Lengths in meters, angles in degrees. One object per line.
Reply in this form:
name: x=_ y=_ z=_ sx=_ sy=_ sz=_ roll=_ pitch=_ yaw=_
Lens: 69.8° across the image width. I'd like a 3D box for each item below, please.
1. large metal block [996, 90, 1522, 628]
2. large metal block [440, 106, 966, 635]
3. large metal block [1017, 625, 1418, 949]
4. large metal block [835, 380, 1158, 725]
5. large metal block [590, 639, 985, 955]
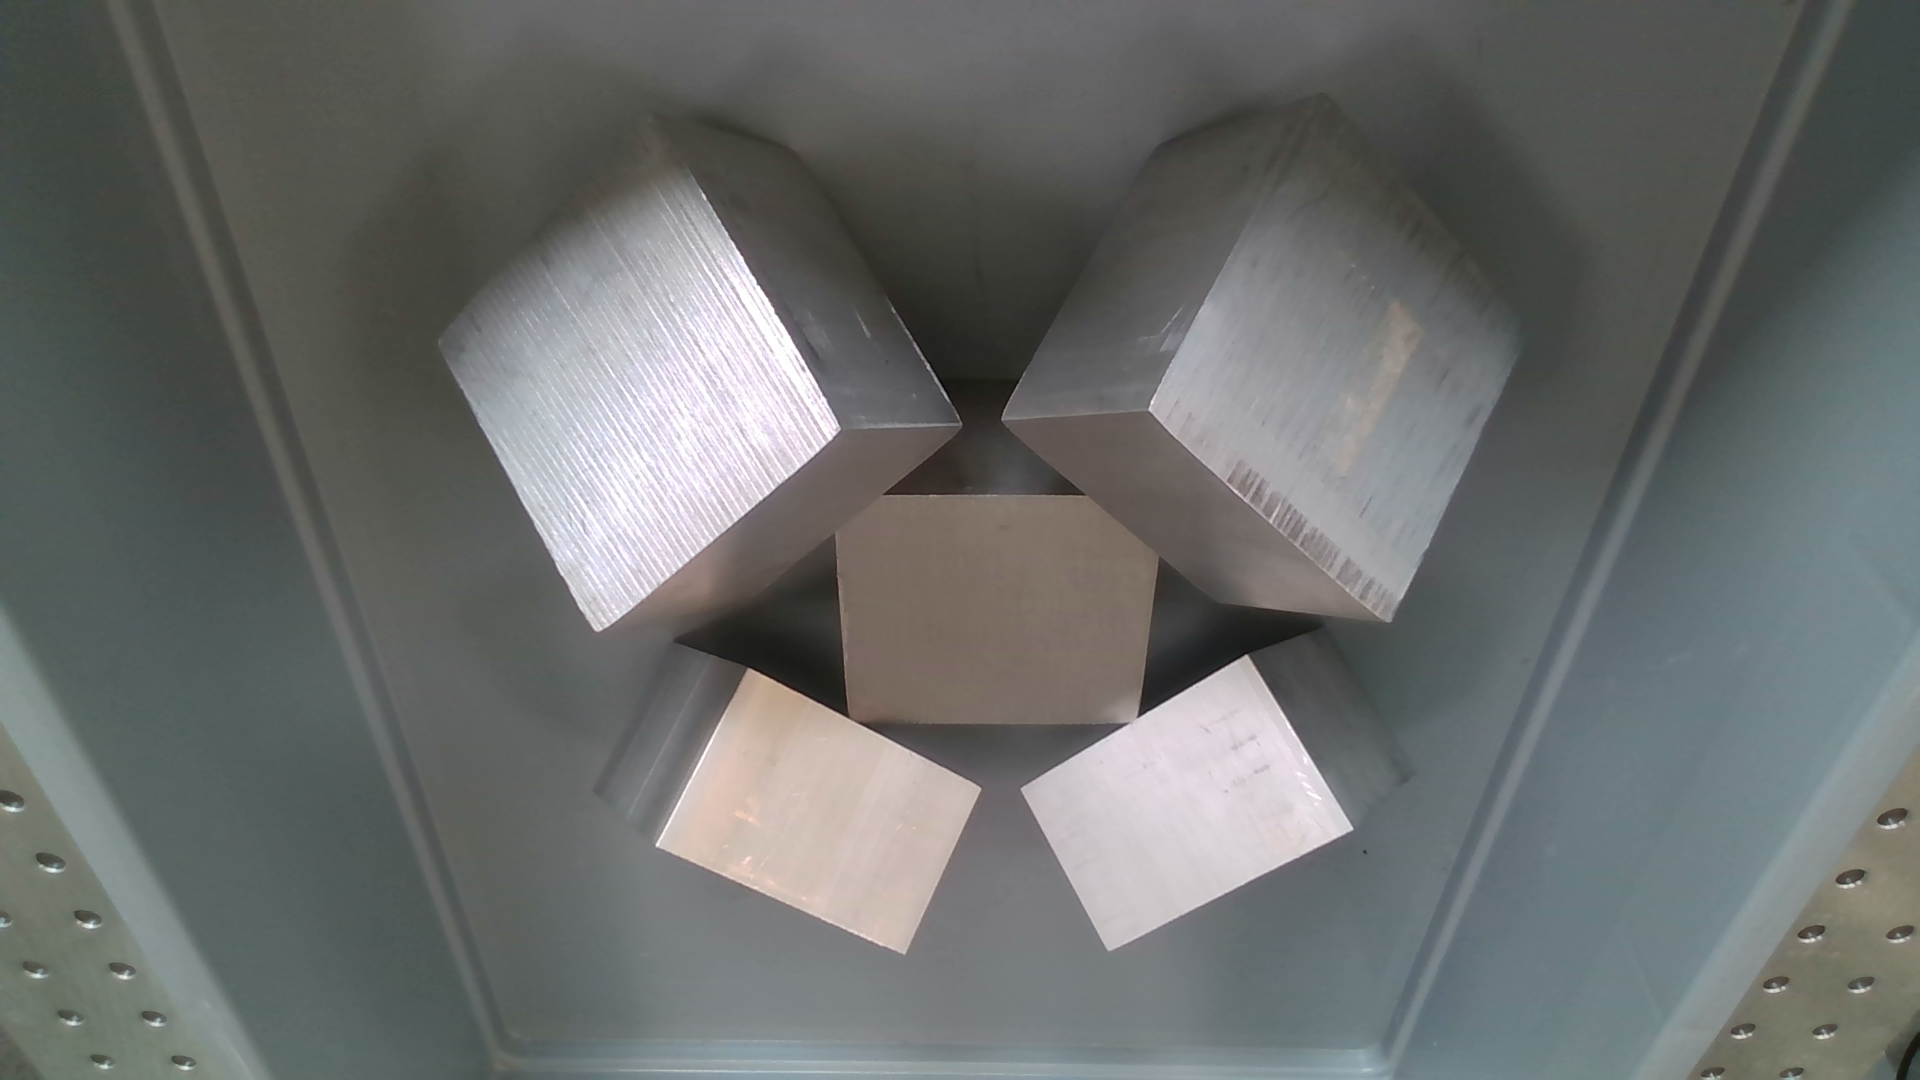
large metal block: x=0.068 y=-0.037 z=0.309 sx=0.080 sy=0.080 sz=0.050 roll=36 pitch=165 yaw=-27
large metal block: x=-0.059 y=-0.036 z=0.314 sx=0.080 sy=0.050 sz=0.080 roll=-36 pitch=77 yaw=27
large metal block: x=0.077 y=0.069 z=0.402 sx=0.080 sy=0.050 sz=0.080 roll=-36 pitch=165 yaw=26
large metal block: x=0.009 y=0.004 z=0.373 sx=0.080 sy=0.050 sz=0.080 roll=1 pitch=130 yaw=0
large metal block: x=-0.053 y=0.073 z=0.404 sx=0.080 sy=0.050 sz=0.080 roll=31 pitch=169 yaw=-24
